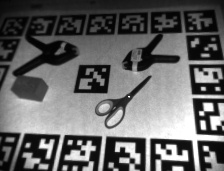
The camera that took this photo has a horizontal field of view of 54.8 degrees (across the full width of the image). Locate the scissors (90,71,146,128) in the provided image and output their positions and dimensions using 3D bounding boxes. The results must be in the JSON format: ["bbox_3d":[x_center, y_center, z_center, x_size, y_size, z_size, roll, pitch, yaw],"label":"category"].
[{"bbox_3d":[0.026,0.026,0.609,0.087,0.016,0.203,40,73,16],"label":"scissors"}]

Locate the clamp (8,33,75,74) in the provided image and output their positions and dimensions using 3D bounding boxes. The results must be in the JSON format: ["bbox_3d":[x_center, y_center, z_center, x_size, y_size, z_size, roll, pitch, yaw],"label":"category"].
[{"bbox_3d":[-0.223,-0.113,0.709,0.202,0.037,0.164,-3,59,5],"label":"clamp"}]

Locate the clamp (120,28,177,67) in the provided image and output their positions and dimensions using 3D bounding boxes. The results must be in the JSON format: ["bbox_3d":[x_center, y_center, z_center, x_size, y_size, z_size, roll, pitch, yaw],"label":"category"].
[{"bbox_3d":[0.098,-0.104,0.664,0.165,0.037,0.121,-25,69,-5],"label":"clamp"}]

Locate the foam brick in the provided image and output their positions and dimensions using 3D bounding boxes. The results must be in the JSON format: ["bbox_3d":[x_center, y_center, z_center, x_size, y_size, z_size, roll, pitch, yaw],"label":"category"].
[{"bbox_3d":[-0.251,0.005,0.645,0.077,0.052,0.052,5,65,16],"label":"foam brick"}]
